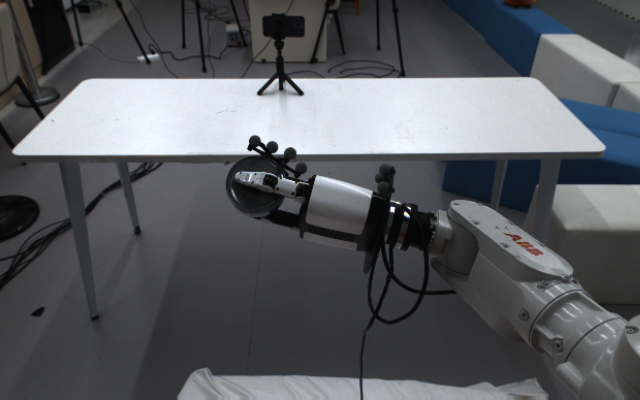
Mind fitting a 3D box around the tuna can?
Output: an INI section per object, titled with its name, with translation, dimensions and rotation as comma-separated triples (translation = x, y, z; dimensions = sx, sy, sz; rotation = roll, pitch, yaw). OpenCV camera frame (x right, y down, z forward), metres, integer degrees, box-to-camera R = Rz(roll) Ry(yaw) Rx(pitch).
[tuna can]
translation = -0.091, -0.018, 0.699
dimensions = 0.085, 0.034, 0.085
rotation = 1, 75, -4
